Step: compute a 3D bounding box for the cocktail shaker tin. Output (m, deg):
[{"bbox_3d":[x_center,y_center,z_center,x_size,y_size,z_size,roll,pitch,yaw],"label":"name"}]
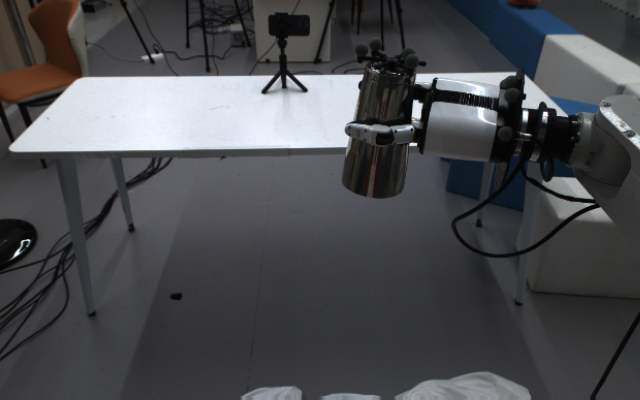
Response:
[{"bbox_3d":[0.084,-0.100,0.664,0.093,0.170,0.093,4,32,-2],"label":"cocktail shaker tin"}]
